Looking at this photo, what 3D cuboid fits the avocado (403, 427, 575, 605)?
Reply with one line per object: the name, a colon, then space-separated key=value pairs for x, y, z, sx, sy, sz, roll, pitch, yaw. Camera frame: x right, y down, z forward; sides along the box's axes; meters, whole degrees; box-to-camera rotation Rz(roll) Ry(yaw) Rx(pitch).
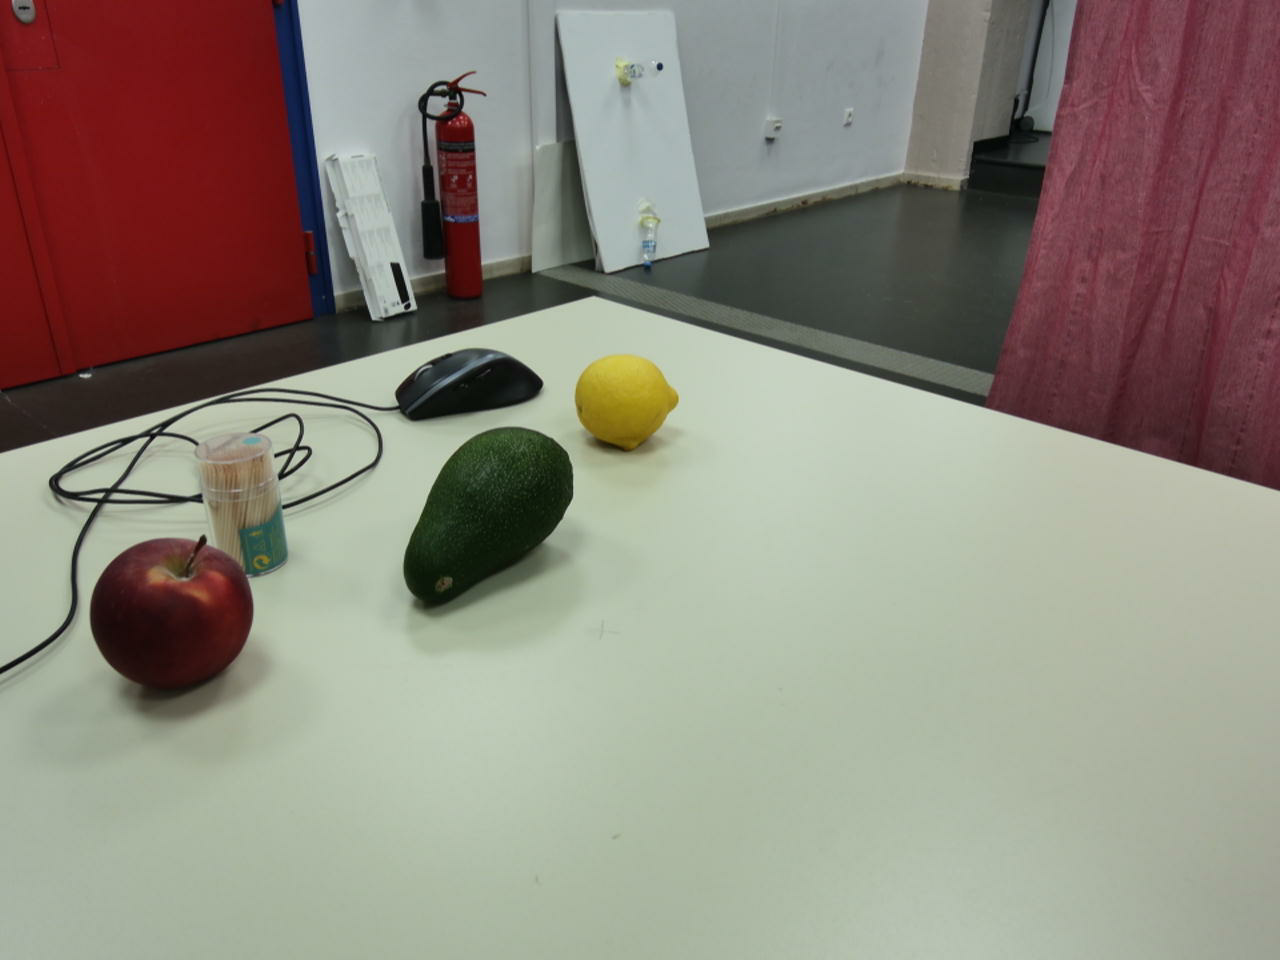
avocado: x=-0.091 y=0.013 z=0.570 sx=0.123 sy=0.076 sz=0.074 roll=-20 pitch=32 yaw=-38
